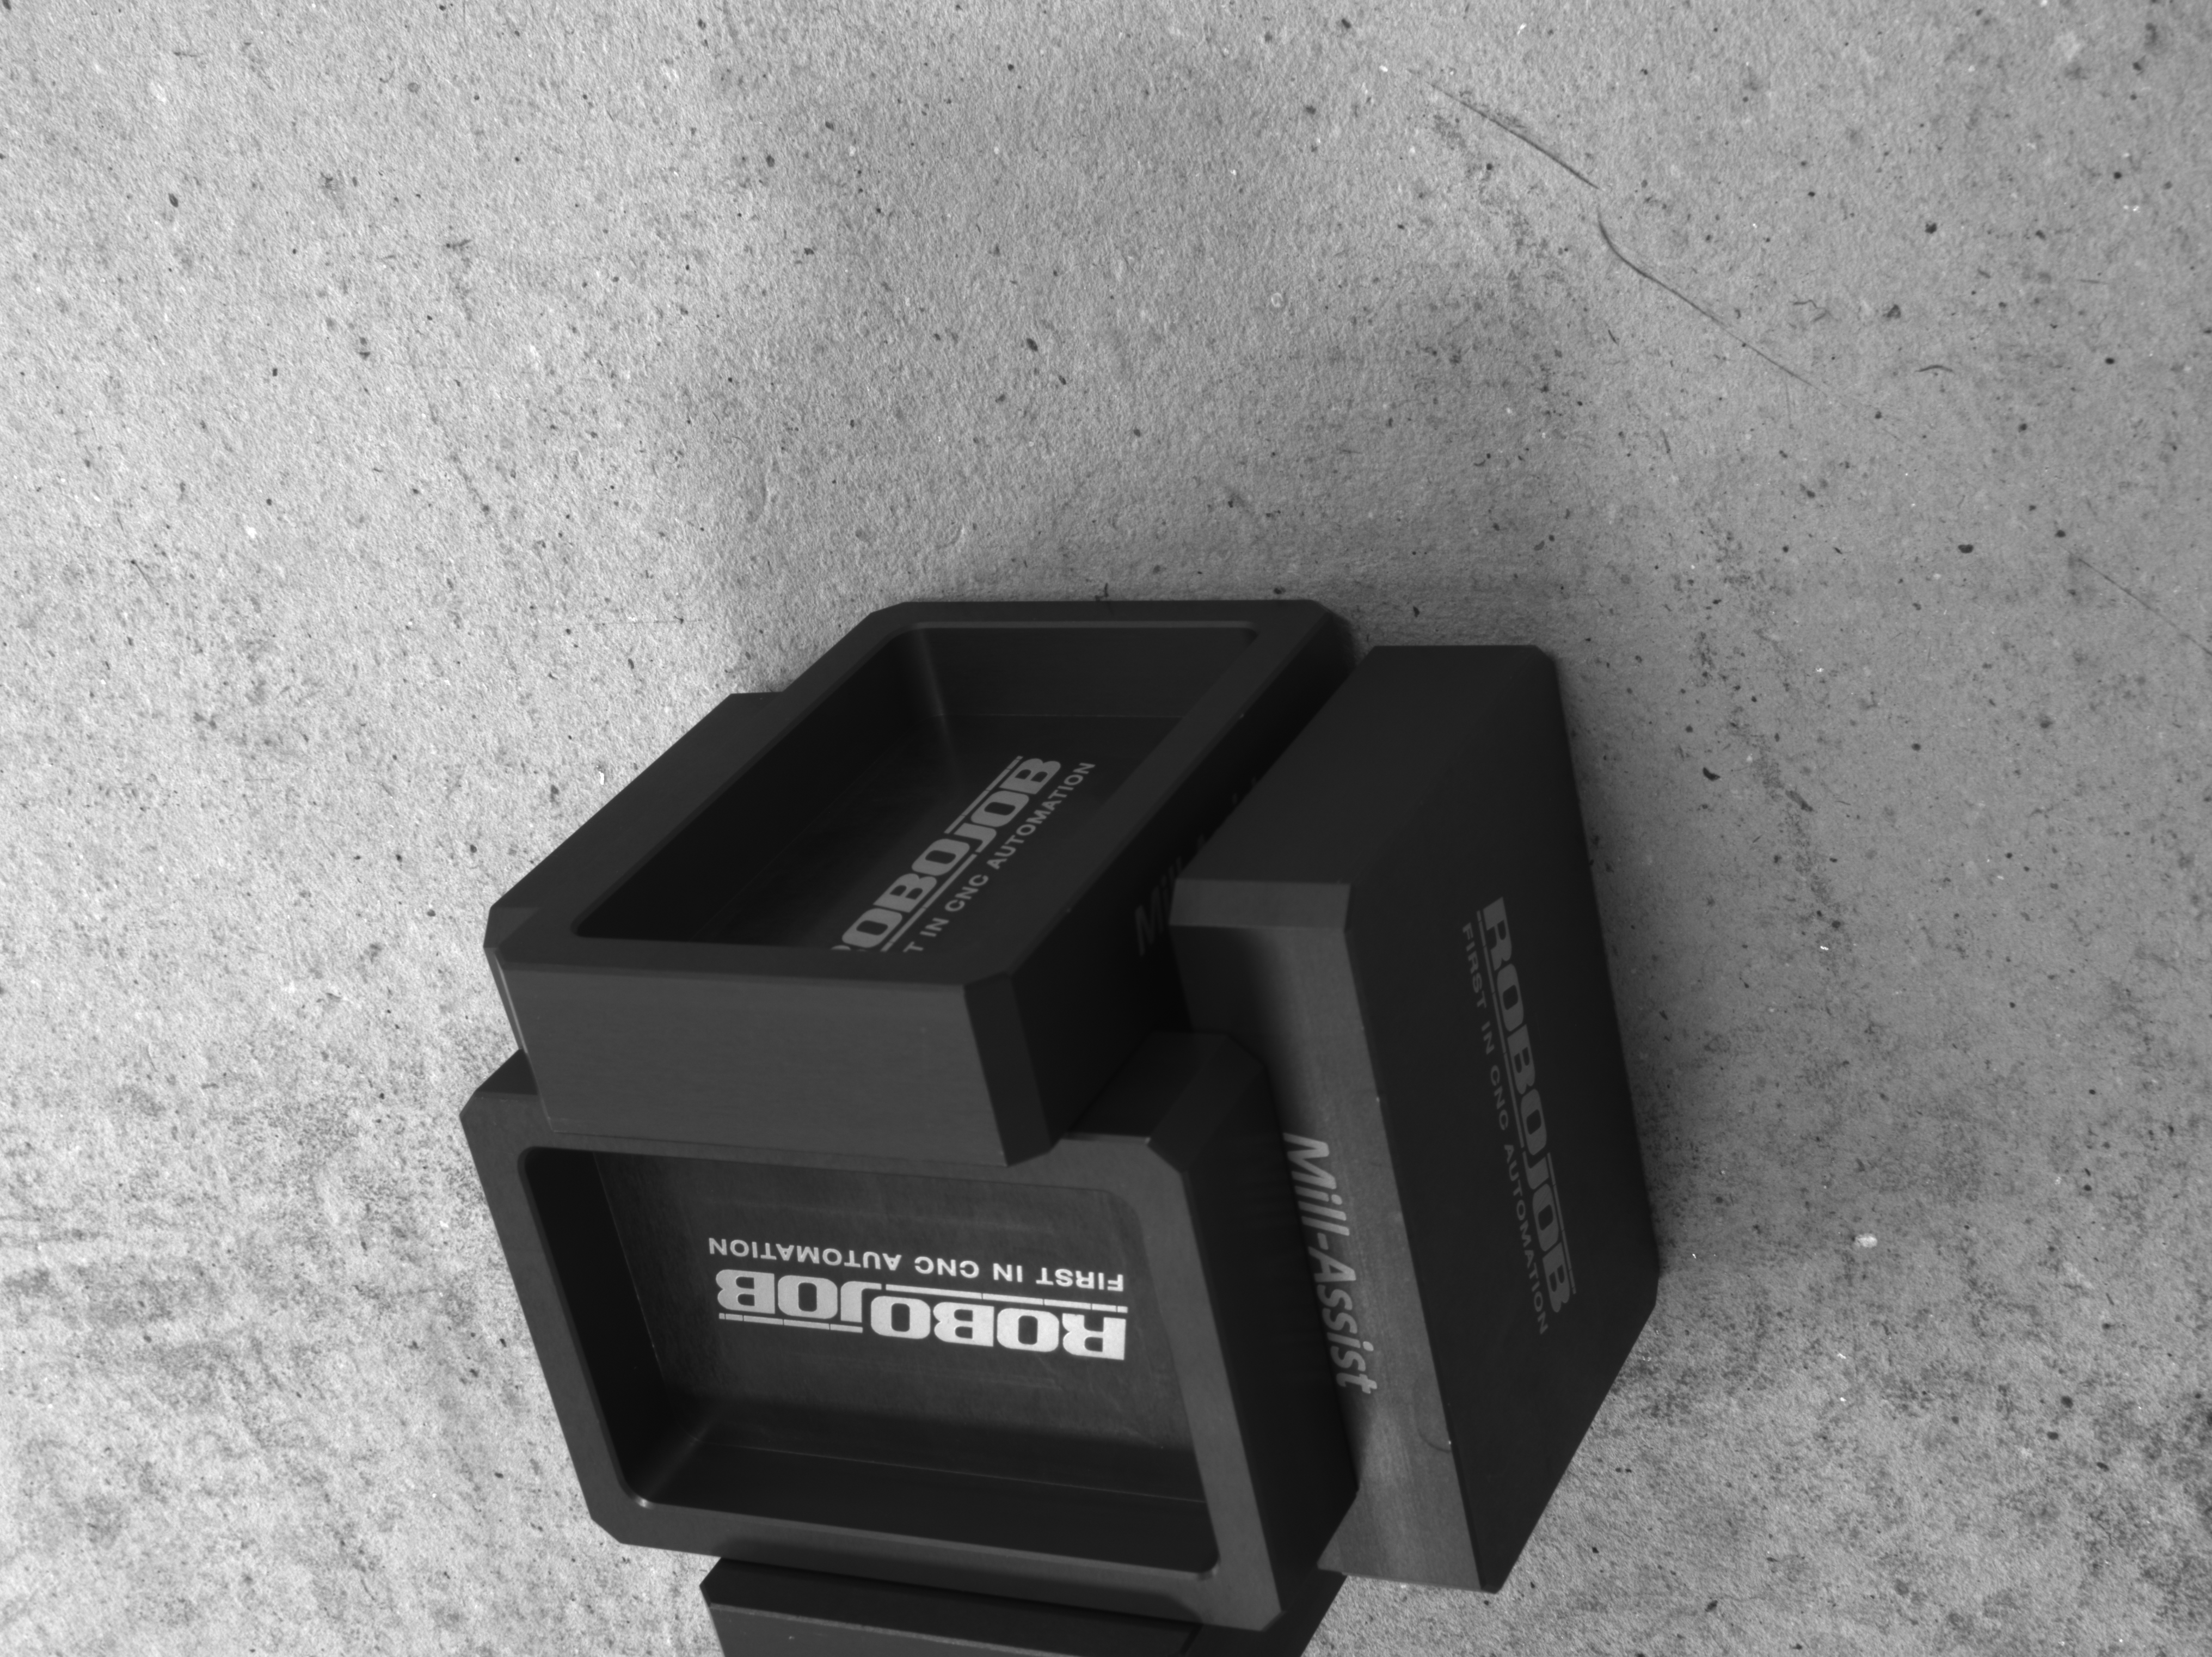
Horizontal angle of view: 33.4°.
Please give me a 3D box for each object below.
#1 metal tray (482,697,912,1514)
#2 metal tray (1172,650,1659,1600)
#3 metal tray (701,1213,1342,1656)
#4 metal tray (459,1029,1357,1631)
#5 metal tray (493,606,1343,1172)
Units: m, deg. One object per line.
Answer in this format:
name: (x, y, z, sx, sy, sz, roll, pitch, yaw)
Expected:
metal tray: (-0.058, 0.052, 0.663, 0.030, 0.090, 0.130, -1, 118, 28)
metal tray: (0.054, 0.047, 0.600, 0.030, 0.090, 0.130, 2, 118, 28)
metal tray: (0.001, 0.110, 0.641, 0.090, 0.130, 0.030, 1, 119, 28)
metal tray: (-0.032, 0.076, 0.587, 0.130, 0.030, 0.090, 2, 119, 28)
metal tray: (-0.025, 0.005, 0.590, 0.090, 0.130, 0.030, 2, 119, 27)
